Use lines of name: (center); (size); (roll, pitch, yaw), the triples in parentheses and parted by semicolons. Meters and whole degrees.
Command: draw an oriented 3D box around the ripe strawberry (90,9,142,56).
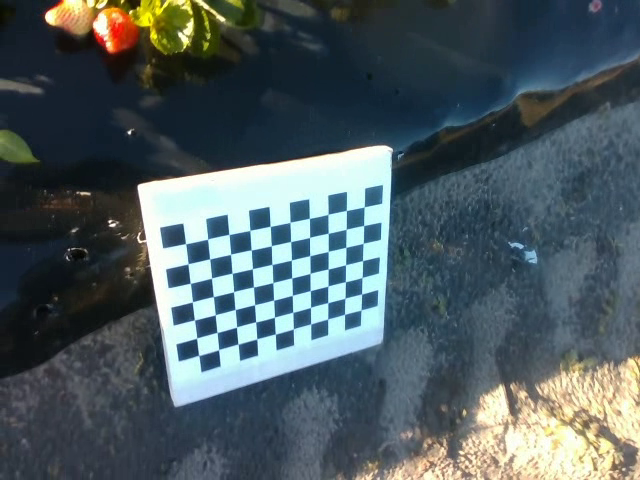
ripe strawberry: (-0.172, -0.175, 0.542); (0.040, 0.038, 0.056); (-14, 35, 9)
